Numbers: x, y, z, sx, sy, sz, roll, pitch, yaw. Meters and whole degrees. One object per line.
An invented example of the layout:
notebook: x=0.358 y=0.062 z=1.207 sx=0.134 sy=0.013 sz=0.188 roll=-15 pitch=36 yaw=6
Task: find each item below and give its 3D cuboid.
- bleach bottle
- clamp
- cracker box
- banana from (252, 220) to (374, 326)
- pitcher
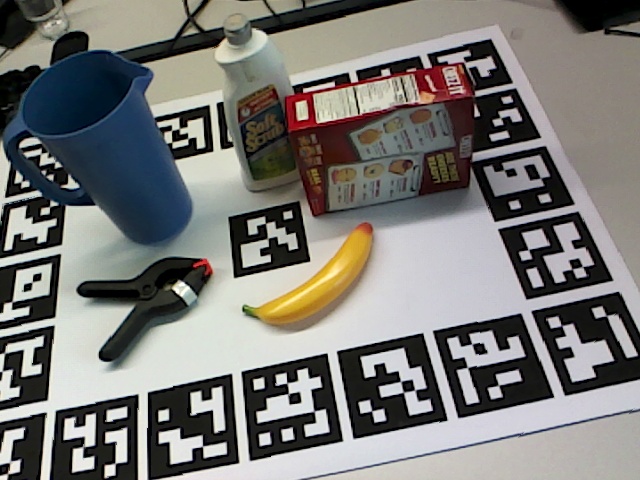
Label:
bleach bottle: x=-0.085 y=-0.162 z=0.809 sx=0.102 sy=0.249 sz=0.068 roll=-13 pitch=53 yaw=3
clamp: x=-0.211 y=0.074 z=0.798 sx=0.165 sy=0.036 sz=0.122 roll=-26 pitch=52 yaw=-9
cracker box: x=0.082 y=-0.123 z=0.779 sx=0.214 sy=0.163 sz=0.072 roll=-13 pitch=51 yaw=5
banana: x=0.008 y=0.047 z=0.779 sx=0.197 sy=0.038 sz=0.075 roll=-42 pitch=57 yaw=-17
pitcher: x=-0.264 y=-0.099 z=0.779 sx=0.188 sy=0.241 sz=0.134 roll=-27 pitch=53 yaw=-11
